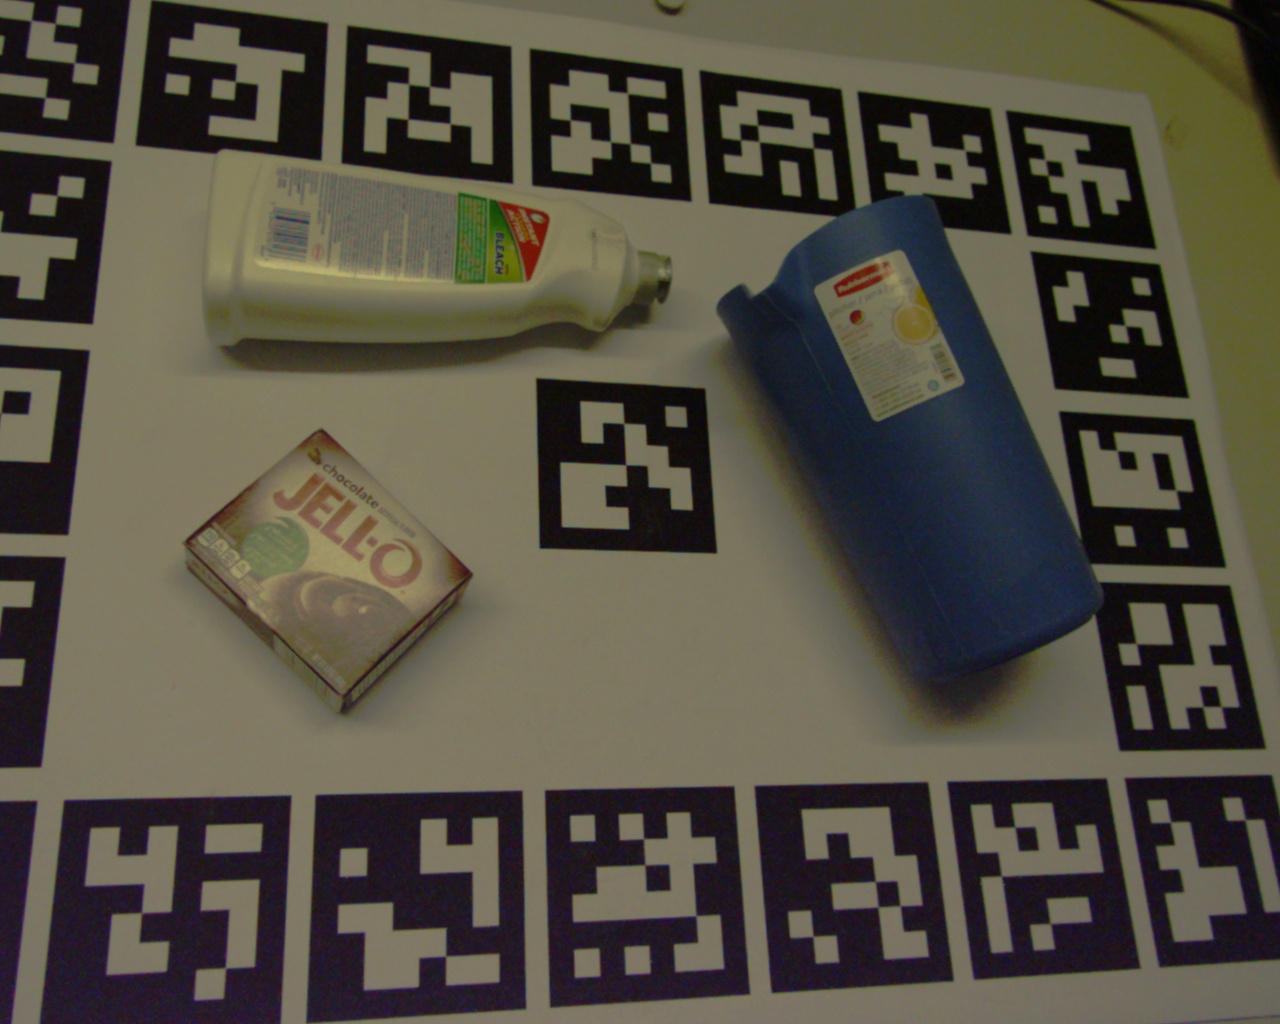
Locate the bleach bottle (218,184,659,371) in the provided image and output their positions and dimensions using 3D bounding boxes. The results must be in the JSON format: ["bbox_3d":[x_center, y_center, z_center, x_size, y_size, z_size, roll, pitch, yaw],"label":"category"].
[{"bbox_3d":[-0.111,-0.131,0.660,0.249,0.068,0.103,-1,77,-16],"label":"bleach bottle"}]

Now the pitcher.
[{"bbox_3d":[0.148,-0.025,0.673,0.186,0.135,0.243,-17,81,-54],"label":"pitcher"}]

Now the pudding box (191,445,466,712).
[{"bbox_3d":[-0.164,0.035,0.600,0.114,0.039,0.089,46,62,1],"label":"pudding box"}]
